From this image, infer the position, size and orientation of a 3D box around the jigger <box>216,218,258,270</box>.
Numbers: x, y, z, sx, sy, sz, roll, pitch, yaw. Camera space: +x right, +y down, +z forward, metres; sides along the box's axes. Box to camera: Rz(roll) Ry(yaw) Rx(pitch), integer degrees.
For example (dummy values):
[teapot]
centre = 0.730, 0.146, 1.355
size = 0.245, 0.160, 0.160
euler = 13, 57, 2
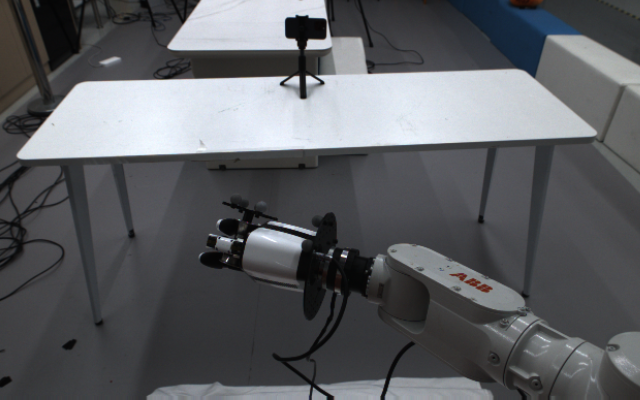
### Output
[jigger]
centre = -0.122, 0.065, 0.734
size = 0.043, 0.071, 0.043
euler = 18, -6, 2
